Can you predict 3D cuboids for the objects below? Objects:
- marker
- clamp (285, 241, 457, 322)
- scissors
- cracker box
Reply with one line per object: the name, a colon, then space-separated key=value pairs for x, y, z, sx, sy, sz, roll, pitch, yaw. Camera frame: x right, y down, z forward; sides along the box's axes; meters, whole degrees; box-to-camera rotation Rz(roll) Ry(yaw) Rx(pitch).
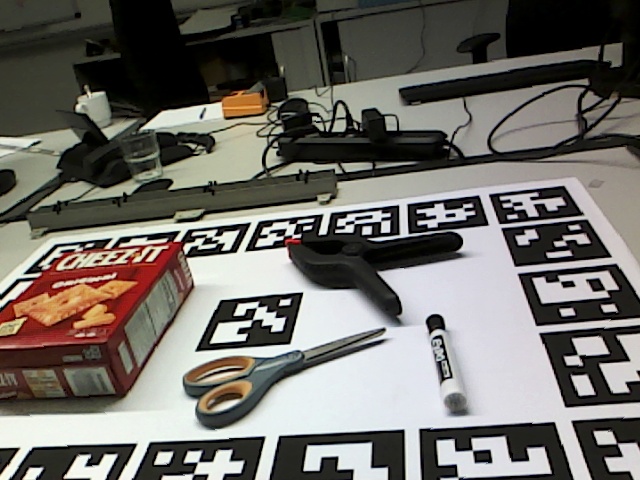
marker: x=0.109 y=0.101 z=0.557 sx=0.020 sy=0.019 sz=0.121 roll=-8 pitch=24 yaw=6
clamp: x=0.039 y=0.033 z=0.749 sx=0.204 sy=0.036 sz=0.165 roll=9 pitch=30 yaw=36
scissors: x=-0.030 y=0.115 z=0.587 sx=0.202 sy=0.016 sz=0.088 roll=-16 pitch=24 yaw=-18
cracker box: x=-0.254 y=0.083 z=0.691 sx=0.164 sy=0.072 sz=0.214 roll=-6 pitch=25 yaw=11
